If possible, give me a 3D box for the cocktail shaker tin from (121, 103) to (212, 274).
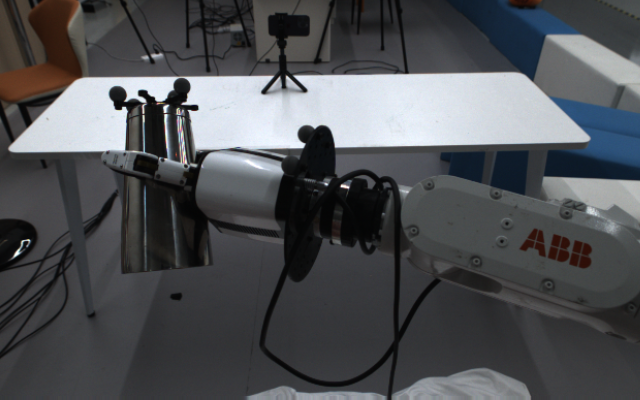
[{"bbox_3d":[-0.166,-0.009,0.516,0.093,0.170,0.093,-7,-7,-1],"label":"cocktail shaker tin"}]
